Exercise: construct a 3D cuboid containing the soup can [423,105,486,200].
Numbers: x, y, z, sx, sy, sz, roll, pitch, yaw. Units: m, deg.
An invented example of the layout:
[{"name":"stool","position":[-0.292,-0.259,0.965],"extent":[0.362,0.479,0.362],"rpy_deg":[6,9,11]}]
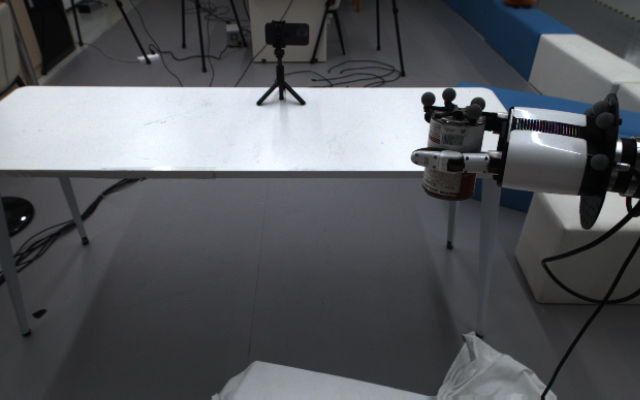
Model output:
[{"name":"soup can","position":[0.171,-0.060,0.619],"extent":[0.067,0.101,0.067],"rpy_deg":[1,25,0]}]
